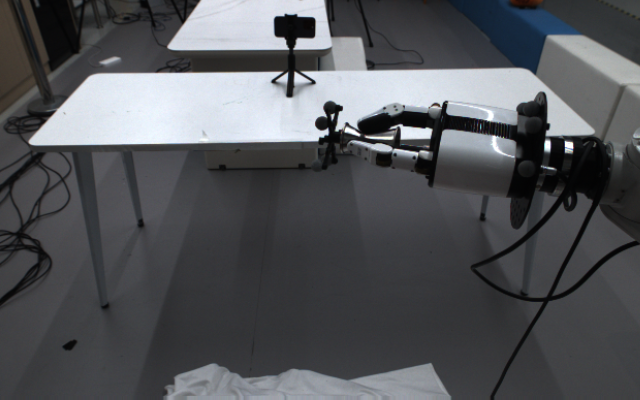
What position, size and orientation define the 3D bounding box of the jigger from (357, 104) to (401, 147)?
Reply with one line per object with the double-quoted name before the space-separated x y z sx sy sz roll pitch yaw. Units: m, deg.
"jigger" 0.069 -0.076 0.605 0.071 0.043 0.043 9 35 17
